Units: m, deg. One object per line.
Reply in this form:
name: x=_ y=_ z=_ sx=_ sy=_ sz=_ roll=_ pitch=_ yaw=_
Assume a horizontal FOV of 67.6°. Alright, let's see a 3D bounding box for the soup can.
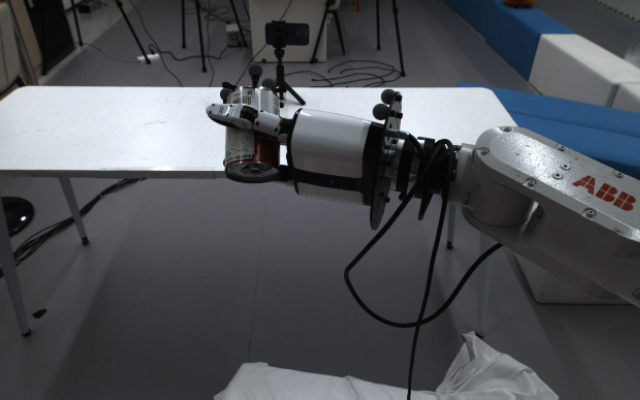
soup can: x=-0.080 y=-0.079 z=0.591 sx=0.067 sy=0.067 sz=0.101 roll=-1 pitch=71 yaw=-5
